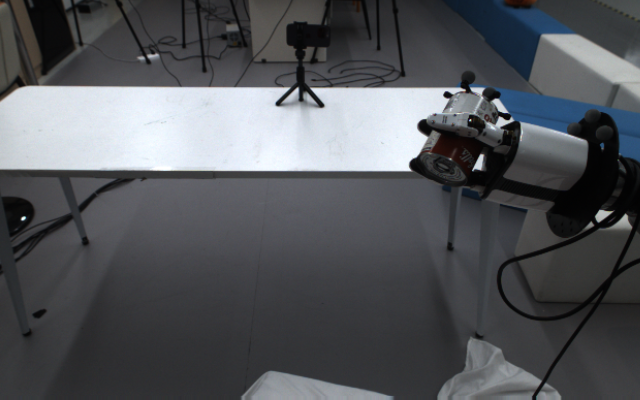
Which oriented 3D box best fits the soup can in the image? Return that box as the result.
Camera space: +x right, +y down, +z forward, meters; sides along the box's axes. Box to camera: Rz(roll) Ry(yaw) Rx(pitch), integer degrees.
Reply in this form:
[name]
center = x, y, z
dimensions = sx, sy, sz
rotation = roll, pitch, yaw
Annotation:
[soup can]
center = 0.174, -0.077, 0.606
dimensions = 0.067, 0.067, 0.101
rotation = 22, 71, 27
